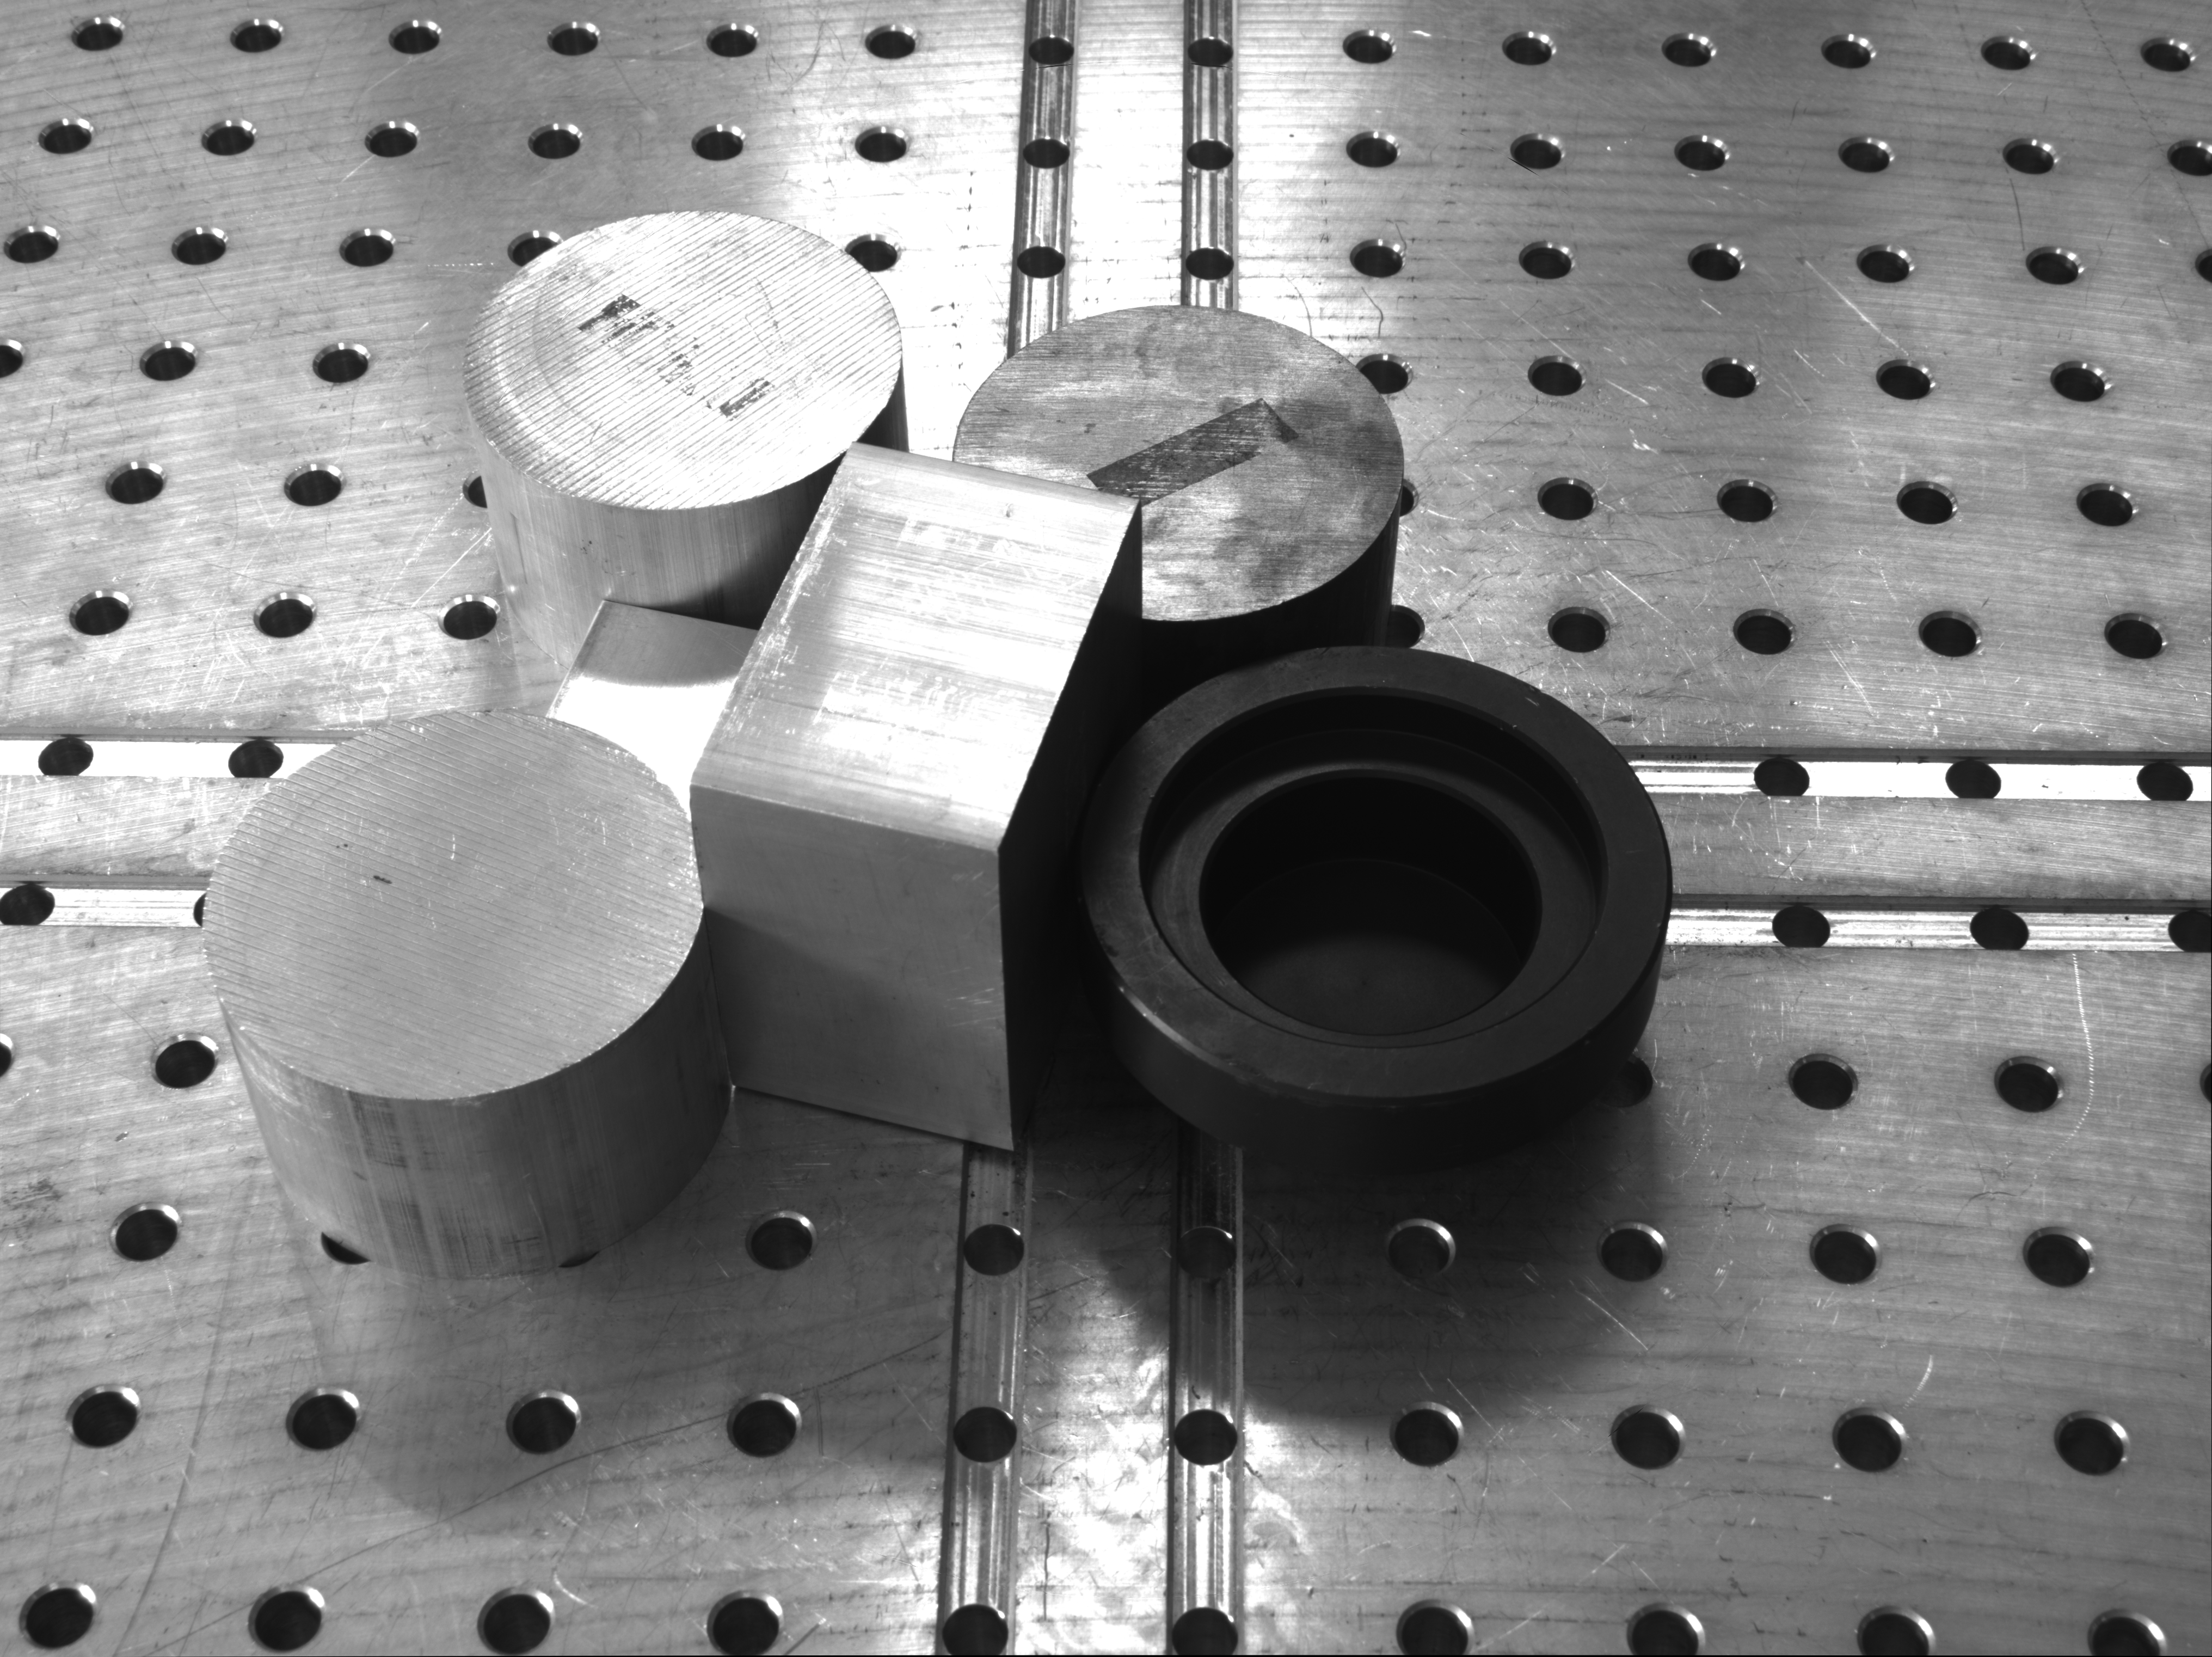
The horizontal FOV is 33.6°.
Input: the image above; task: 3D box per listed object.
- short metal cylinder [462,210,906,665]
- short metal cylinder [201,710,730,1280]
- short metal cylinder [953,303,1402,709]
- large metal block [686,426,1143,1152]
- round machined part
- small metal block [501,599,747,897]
[{"bbox_3d":[-0.077,-0.070,0.688,0.080,0.050,0.080,0,50,0],"label":"short metal cylinder"},{"bbox_3d":[-0.104,0.027,0.605,0.080,0.050,0.080,0,50,0],"label":"short metal cylinder"},{"bbox_3d":[0.013,-0.050,0.671,0.080,0.050,0.080,0,50,0],"label":"short metal cylinder"},{"bbox_3d":[-0.029,-0.006,0.610,0.050,0.080,0.080,12,51,10],"label":"large metal block"},{"bbox_3d":[0.044,0.019,0.618,0.098,0.042,0.098,0,50,0],"label":"round machined part"},{"bbox_3d":[-0.074,-0.010,0.653,0.050,0.025,0.050,11,51,10],"label":"small metal block"}]
